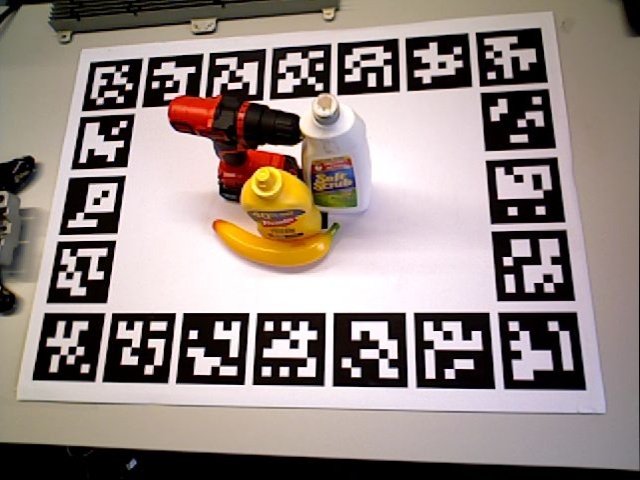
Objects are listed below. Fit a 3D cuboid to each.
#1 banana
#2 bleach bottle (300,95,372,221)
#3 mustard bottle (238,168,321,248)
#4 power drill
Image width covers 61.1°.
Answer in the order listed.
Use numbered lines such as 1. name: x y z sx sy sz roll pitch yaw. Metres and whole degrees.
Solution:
1. banana: -0.065 0.012 0.788 0.198 0.039 0.074 4 75 13
2. bleach bottle: 0.014 -0.107 0.694 0.103 0.253 0.067 3 66 9
3. mustard bottle: -0.055 -0.044 0.712 0.096 0.193 0.058 1 72 8
4. power drill: -0.094 -0.118 0.719 0.184 0.188 0.057 12 73 11
